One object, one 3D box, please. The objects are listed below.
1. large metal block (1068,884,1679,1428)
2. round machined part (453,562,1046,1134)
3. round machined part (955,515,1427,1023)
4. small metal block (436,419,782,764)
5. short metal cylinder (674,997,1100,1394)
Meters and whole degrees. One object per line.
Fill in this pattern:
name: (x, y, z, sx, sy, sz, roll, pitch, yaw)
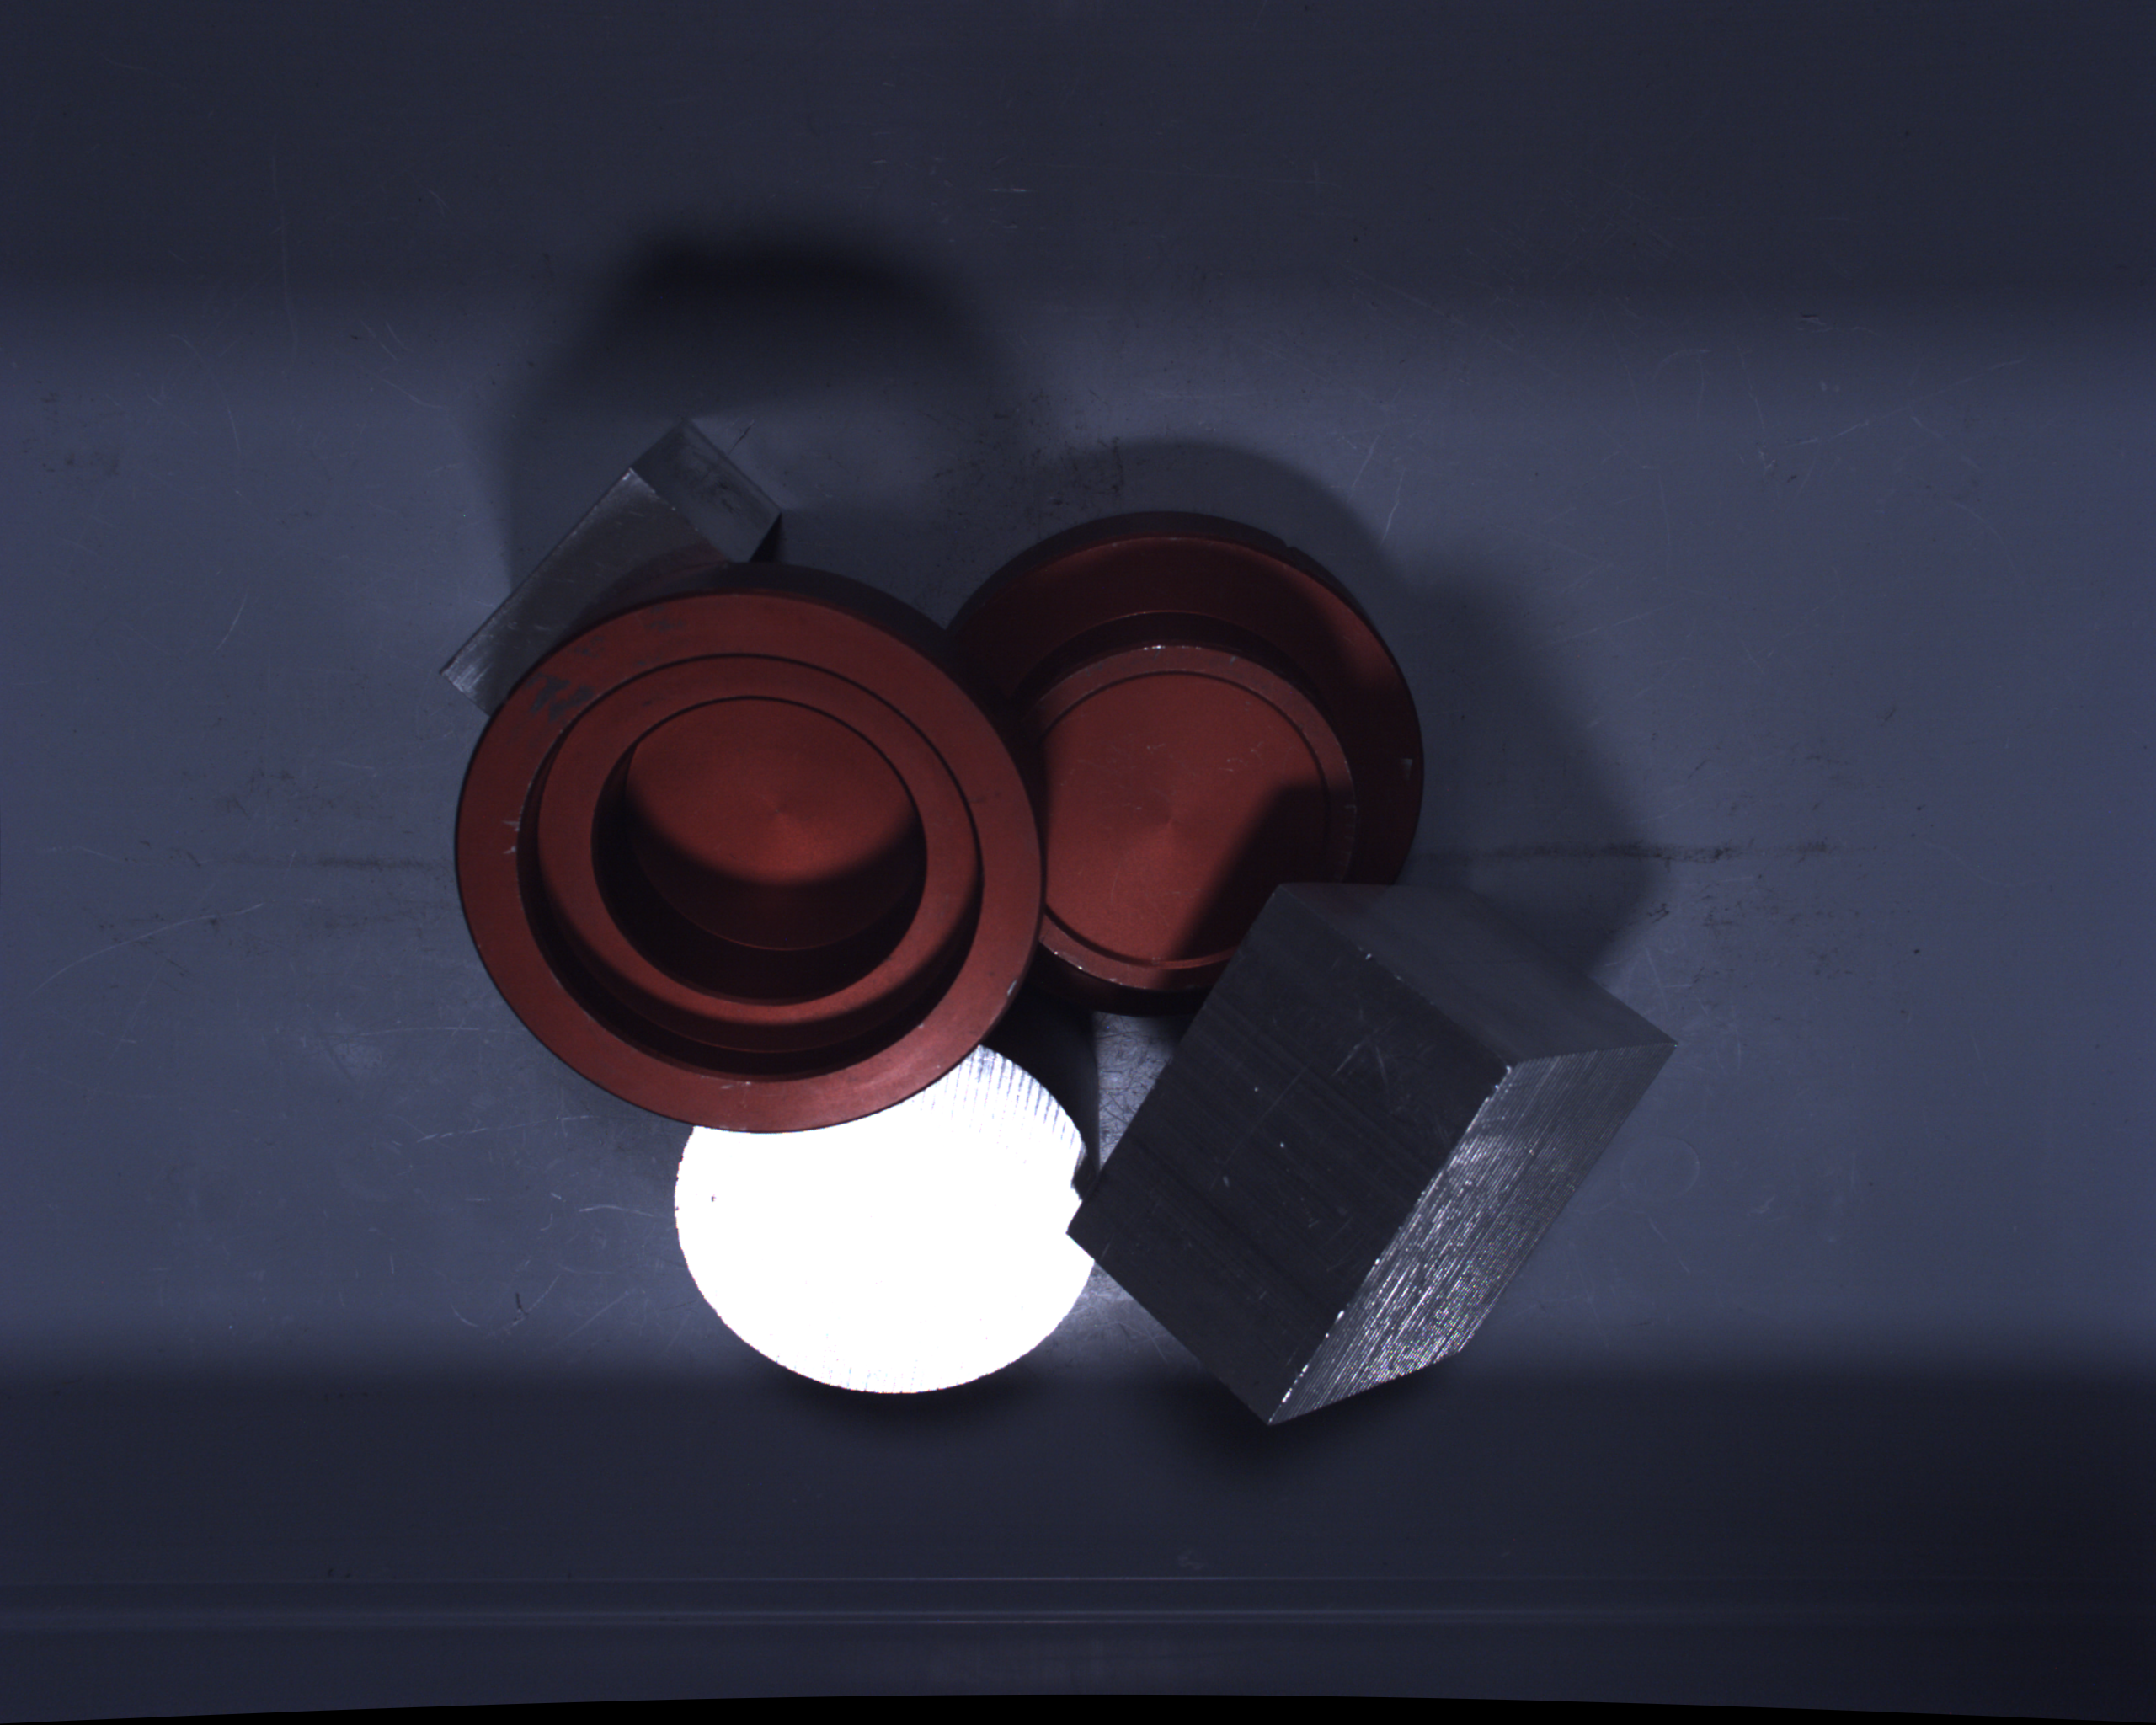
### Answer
large metal block: (0.057, 0.052, 0.393, 0.050, 0.080, 0.080, 40, 109, 29)
round machined part: (-0.055, -0.005, 0.367, 0.099, 0.042, 0.097, 0, 110, -1)
round machined part: (0.017, -0.014, 0.394, 0.099, 0.042, 0.097, 0, 110, -1)
small metal block: (-0.083, -0.050, 0.376, 0.025, 0.050, 0.050, 43, 105, -14)
short metal cylinder: (-0.036, 0.058, 0.417, 0.081, 0.050, 0.079, 0, 110, -1)
